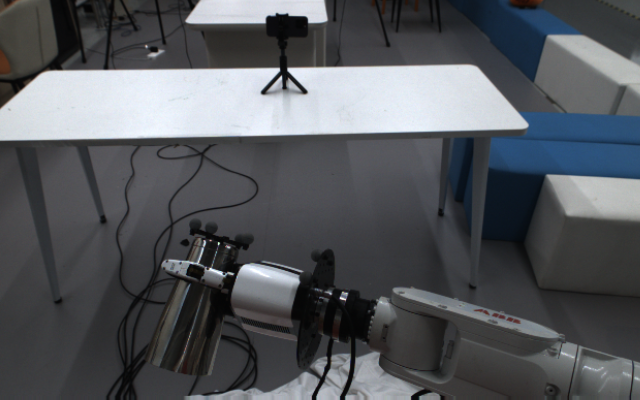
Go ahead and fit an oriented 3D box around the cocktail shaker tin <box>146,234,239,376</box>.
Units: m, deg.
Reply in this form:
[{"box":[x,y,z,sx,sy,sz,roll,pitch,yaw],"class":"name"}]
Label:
[{"box":[-0.166,0.140,0.664,0.093,0.093,0.170,13,77,15],"class":"cocktail shaker tin"}]
